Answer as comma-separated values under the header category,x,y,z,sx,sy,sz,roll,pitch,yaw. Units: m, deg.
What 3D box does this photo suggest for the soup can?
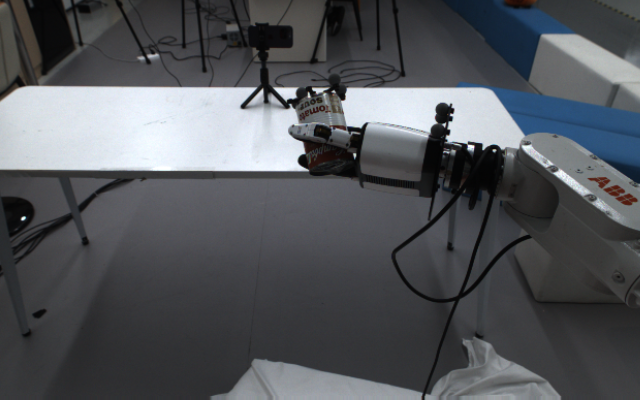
category,x,y,z,sx,sy,sz,roll,pitch,yaw
soup can,0.007,-0.092,0.688,0.067,0.067,0.101,-10,80,-16
